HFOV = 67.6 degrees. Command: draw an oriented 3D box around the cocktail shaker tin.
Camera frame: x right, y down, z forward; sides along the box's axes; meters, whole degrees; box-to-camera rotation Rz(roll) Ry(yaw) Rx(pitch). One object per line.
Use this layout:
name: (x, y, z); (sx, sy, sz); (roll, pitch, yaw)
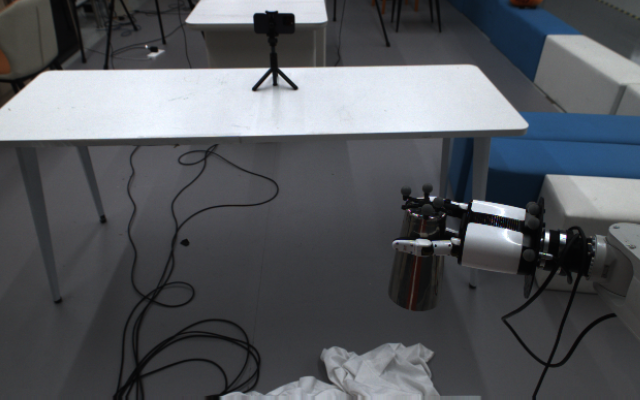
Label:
cocktail shaker tin: (0.170, 0.086, 0.816); (0.093, 0.170, 0.093); (1, 27, -1)
